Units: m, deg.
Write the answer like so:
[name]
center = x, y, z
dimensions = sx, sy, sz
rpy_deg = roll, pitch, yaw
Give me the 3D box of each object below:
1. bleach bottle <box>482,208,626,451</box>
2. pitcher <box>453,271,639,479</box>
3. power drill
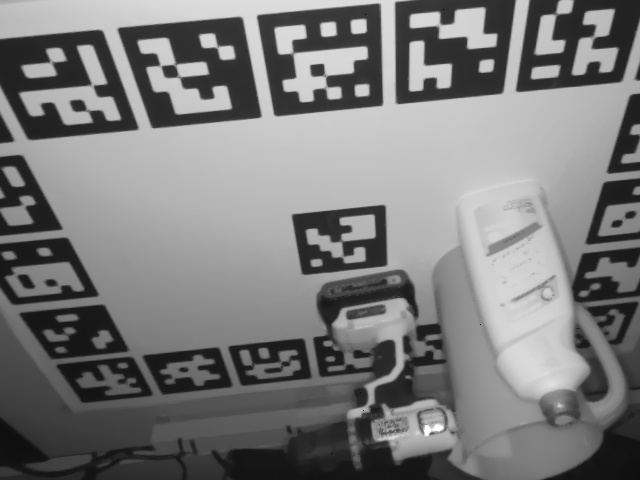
[bleach bottle]
center = 0.229, 0.078, 0.657
dimensions = 0.102, 0.252, 0.067
rpy_deg = -12, 132, 5
[pitcher]
center = 0.226, 0.139, 0.740
dimensions = 0.187, 0.244, 0.133
rpy_deg = -26, 128, 18
[power drill]
center = 0.059, 0.164, 0.757
dimensions = 0.184, 0.189, 0.057
rpy_deg = -6, 130, 8
